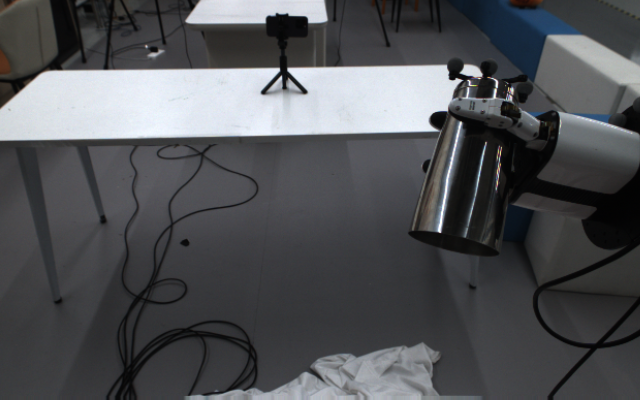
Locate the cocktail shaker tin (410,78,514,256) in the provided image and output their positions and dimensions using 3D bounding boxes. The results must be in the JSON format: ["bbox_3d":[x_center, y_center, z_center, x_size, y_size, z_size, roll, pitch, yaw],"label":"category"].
[{"bbox_3d":[0.160,-0.039,0.505,0.093,0.093,0.170,13,79,15],"label":"cocktail shaker tin"}]
